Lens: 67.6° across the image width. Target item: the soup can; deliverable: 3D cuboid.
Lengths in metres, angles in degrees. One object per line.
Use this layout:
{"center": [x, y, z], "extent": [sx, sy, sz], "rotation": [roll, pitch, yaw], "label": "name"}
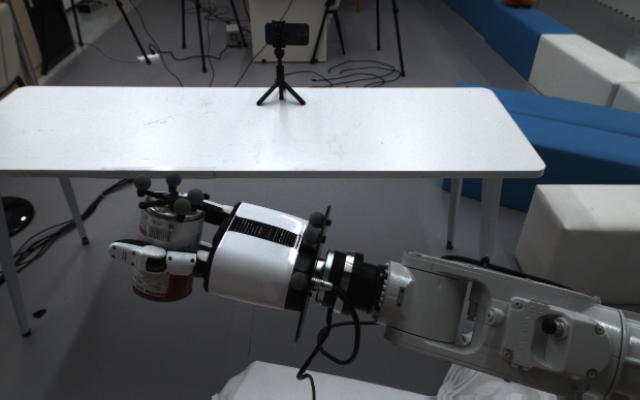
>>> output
{"center": [-0.166, 0.054, 0.538], "extent": [0.067, 0.101, 0.067], "rotation": [13, 18, -4], "label": "soup can"}
